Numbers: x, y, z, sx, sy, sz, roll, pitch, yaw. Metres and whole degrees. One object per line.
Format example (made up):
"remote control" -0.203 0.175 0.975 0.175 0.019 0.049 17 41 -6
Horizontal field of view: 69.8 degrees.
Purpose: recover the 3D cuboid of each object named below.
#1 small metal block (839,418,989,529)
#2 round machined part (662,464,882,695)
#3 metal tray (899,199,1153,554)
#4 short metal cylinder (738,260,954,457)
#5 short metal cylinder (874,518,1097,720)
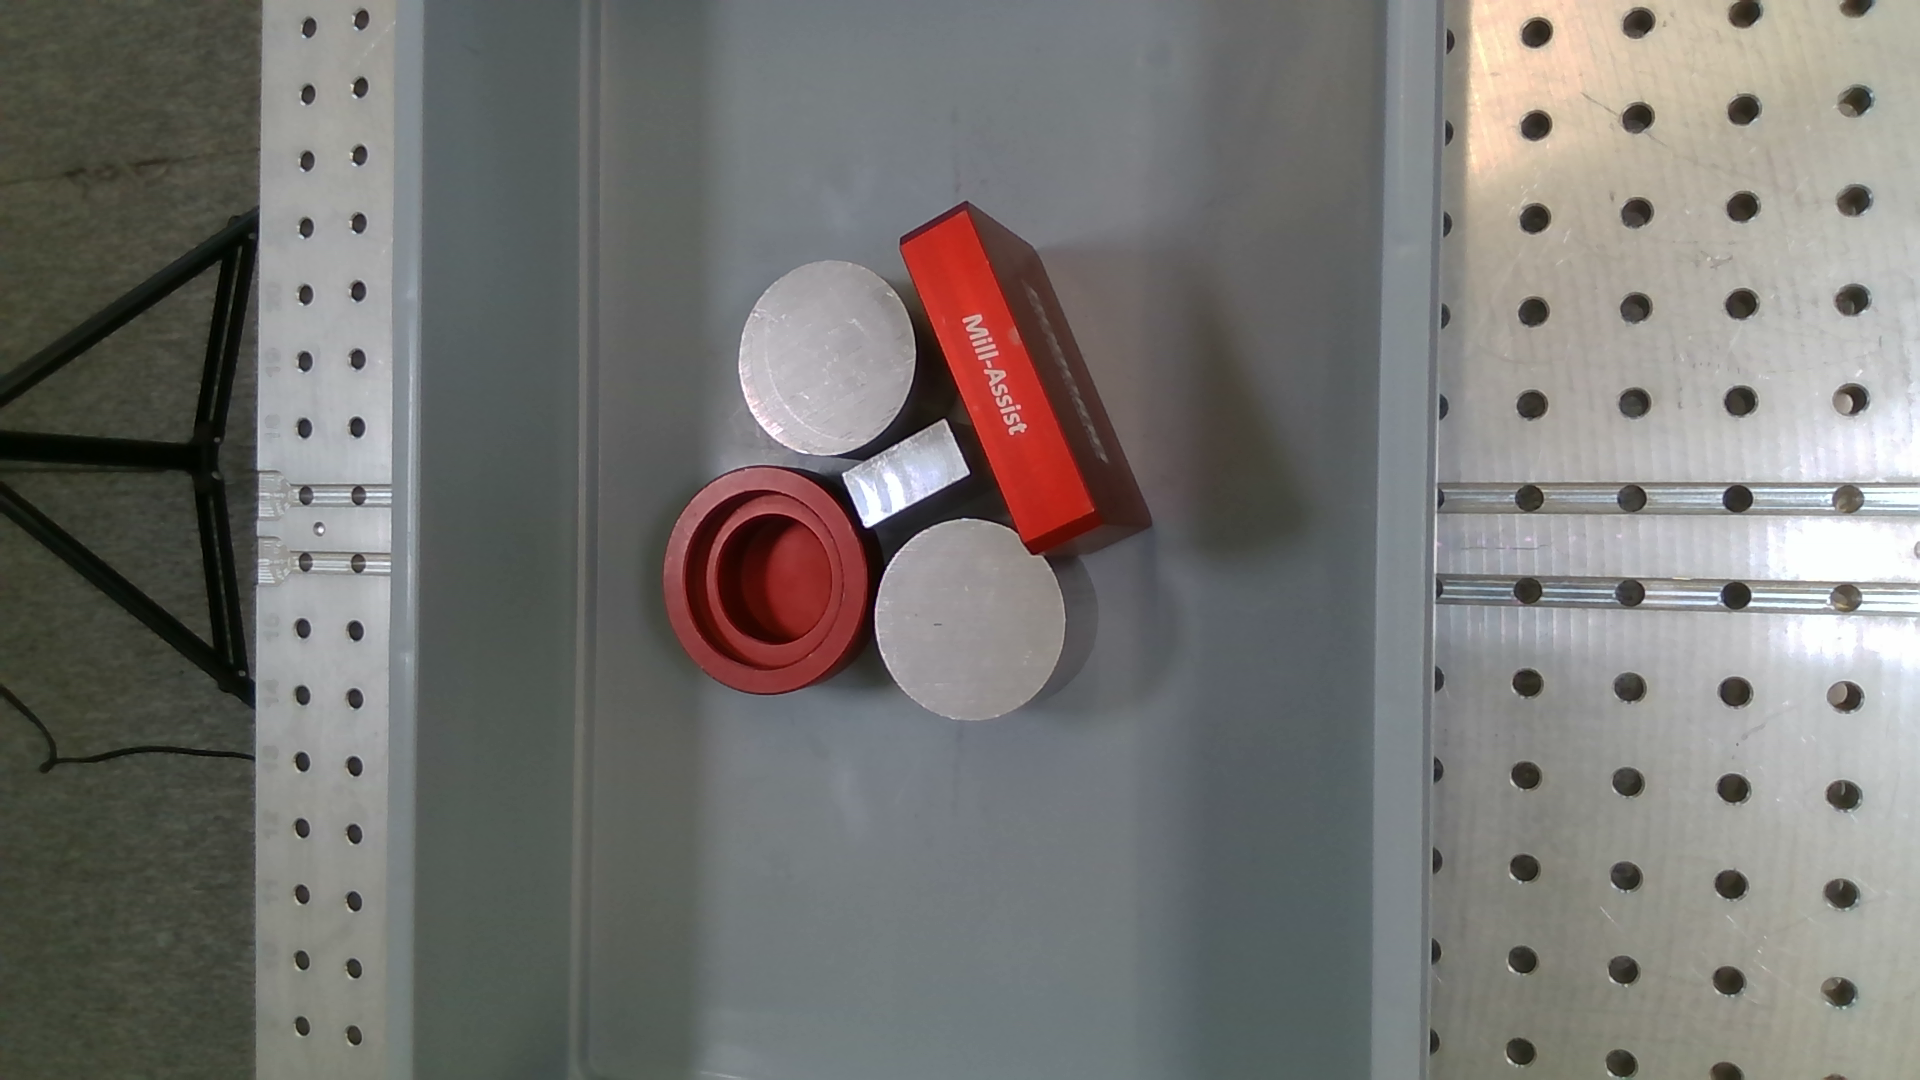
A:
"small metal block" -0.014 -0.027 0.576 0.050 0.050 0.025 -27 81 18
"round machined part" -0.078 0.017 0.604 0.098 0.042 0.098 0 91 20
"metal tray" 0.028 -0.060 0.538 0.030 0.090 0.130 -25 81 19
"short metal cylinder" -0.047 -0.075 0.588 0.080 0.050 0.080 0 91 20
"short metal cylinder" 0.011 0.031 0.567 0.080 0.050 0.080 0 91 20
